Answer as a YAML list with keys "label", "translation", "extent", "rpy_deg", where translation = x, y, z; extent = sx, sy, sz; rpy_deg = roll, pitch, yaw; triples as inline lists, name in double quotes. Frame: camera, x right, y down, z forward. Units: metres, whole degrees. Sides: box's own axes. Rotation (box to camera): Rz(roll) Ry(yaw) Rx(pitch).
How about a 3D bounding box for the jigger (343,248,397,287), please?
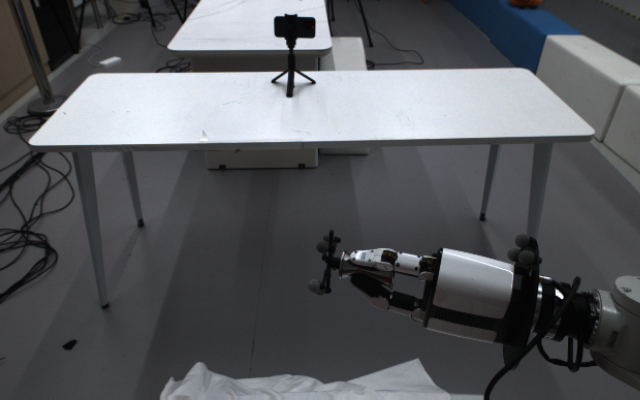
- label: "jigger"
  translation: [0.069, 0.085, 0.625]
  extent: [0.071, 0.043, 0.043]
  rpy_deg: [8, 35, 12]
